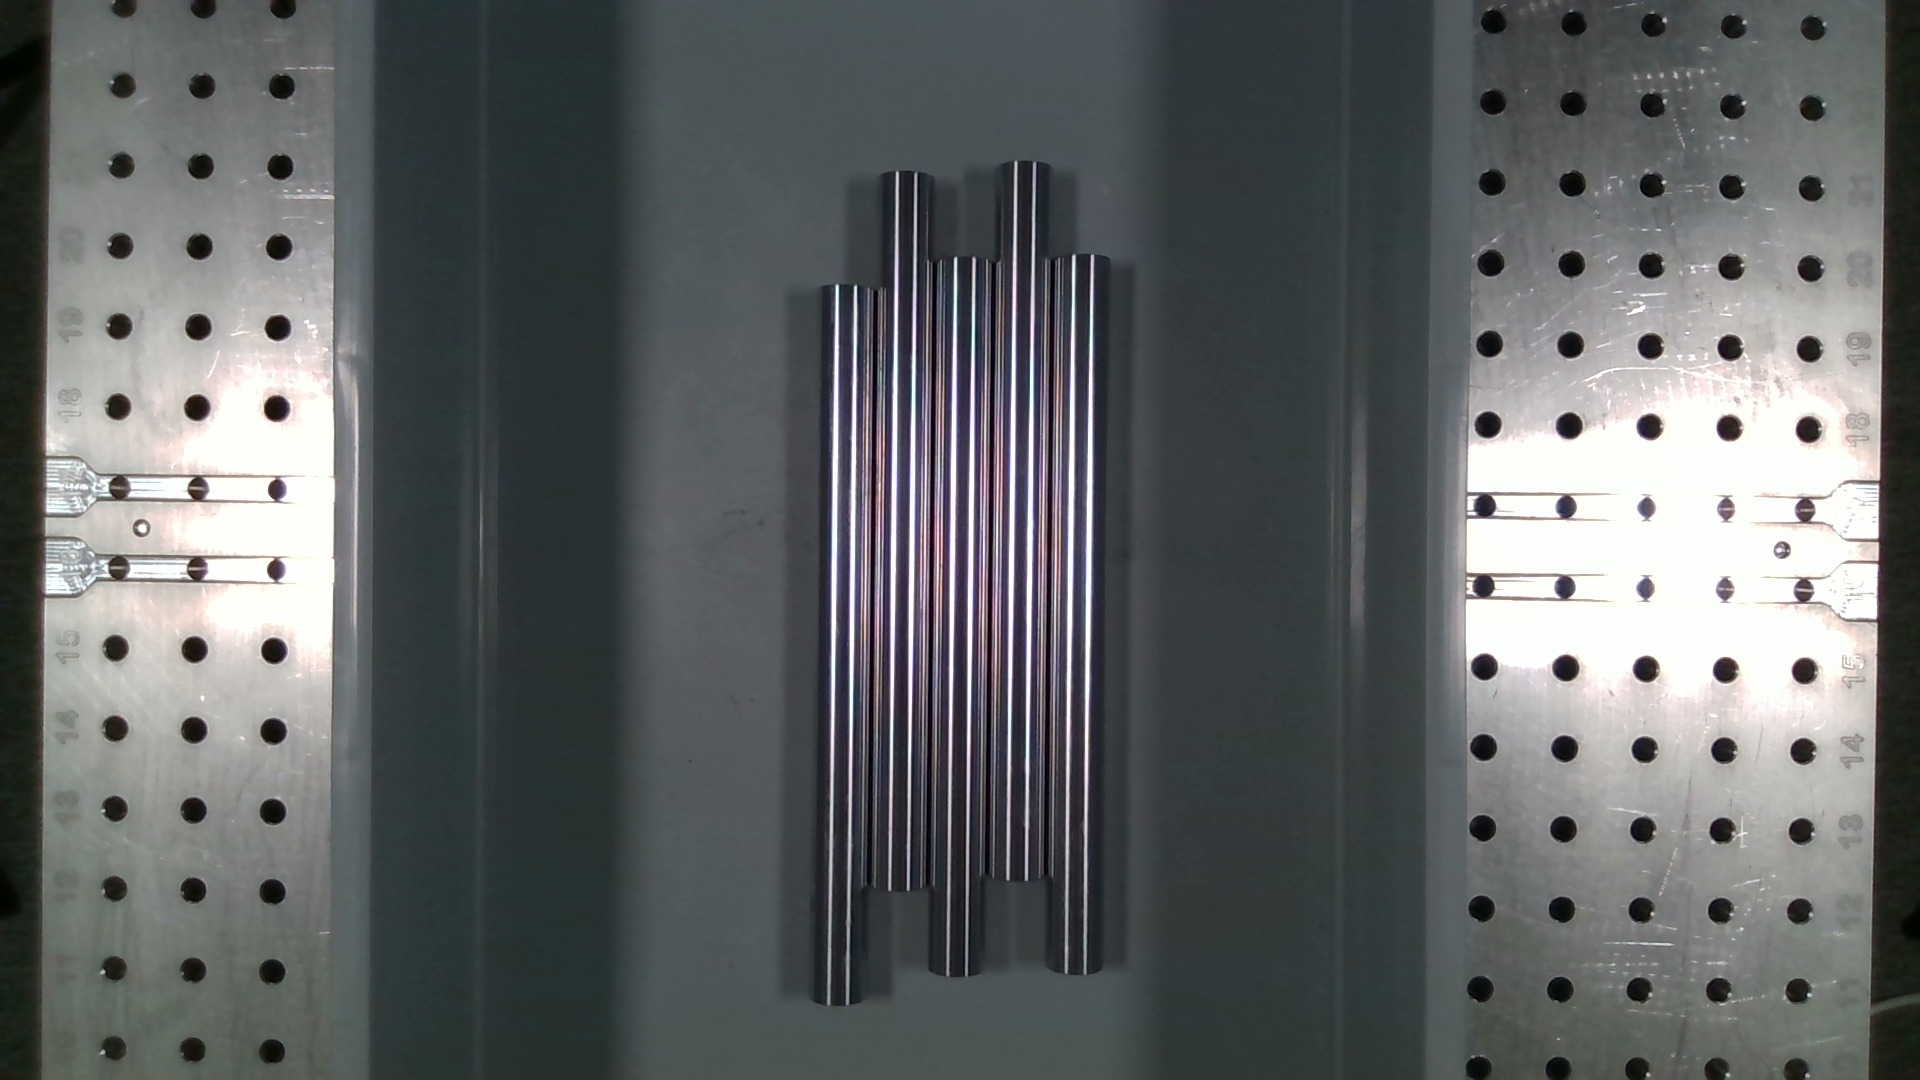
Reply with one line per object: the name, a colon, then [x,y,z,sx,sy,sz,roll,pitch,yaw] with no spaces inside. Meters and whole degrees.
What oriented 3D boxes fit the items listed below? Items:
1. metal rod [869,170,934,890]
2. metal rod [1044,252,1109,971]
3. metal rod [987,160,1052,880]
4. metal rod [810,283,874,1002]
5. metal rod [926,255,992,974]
metal rod: [-0.025,-0.004,0.586,0.025,0.025,0.300,1,91,0]
metal rod: [0.050,0.030,0.586,0.025,0.025,0.300,1,91,0]
metal rod: [0.025,-0.008,0.586,0.025,0.025,0.300,1,91,0]
metal rod: [-0.050,0.043,0.586,0.025,0.025,0.300,1,91,0]
metal rod: [0.000,0.032,0.586,0.025,0.025,0.300,1,91,0]
